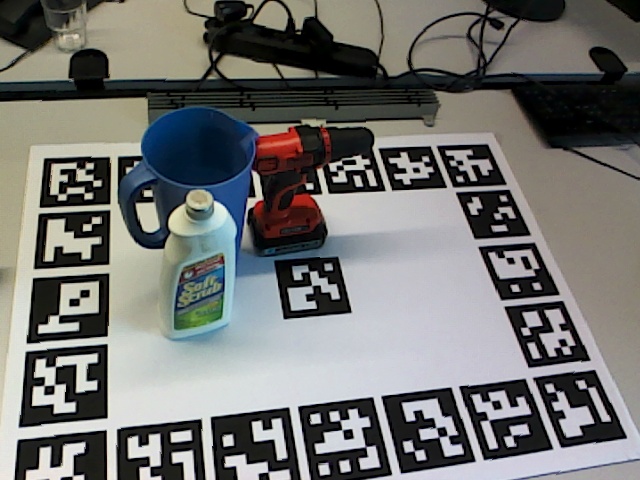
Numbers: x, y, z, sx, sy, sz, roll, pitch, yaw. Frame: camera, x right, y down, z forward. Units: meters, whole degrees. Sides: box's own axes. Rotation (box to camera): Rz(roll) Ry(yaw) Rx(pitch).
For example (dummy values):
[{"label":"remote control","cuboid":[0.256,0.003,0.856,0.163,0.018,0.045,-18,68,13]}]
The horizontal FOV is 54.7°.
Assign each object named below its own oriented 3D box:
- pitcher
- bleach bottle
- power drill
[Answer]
[{"label":"pitcher","cuboid":[-0.161,-0.050,0.834,0.188,0.242,0.134,-29,65,-26]},{"label":"bleach bottle","cuboid":[-0.150,0.022,0.759,0.102,0.250,0.068,-11,58,-16]},{"label":"power drill","cuboid":[-0.003,-0.072,0.887,0.184,0.187,0.057,-6,59,-20]}]
